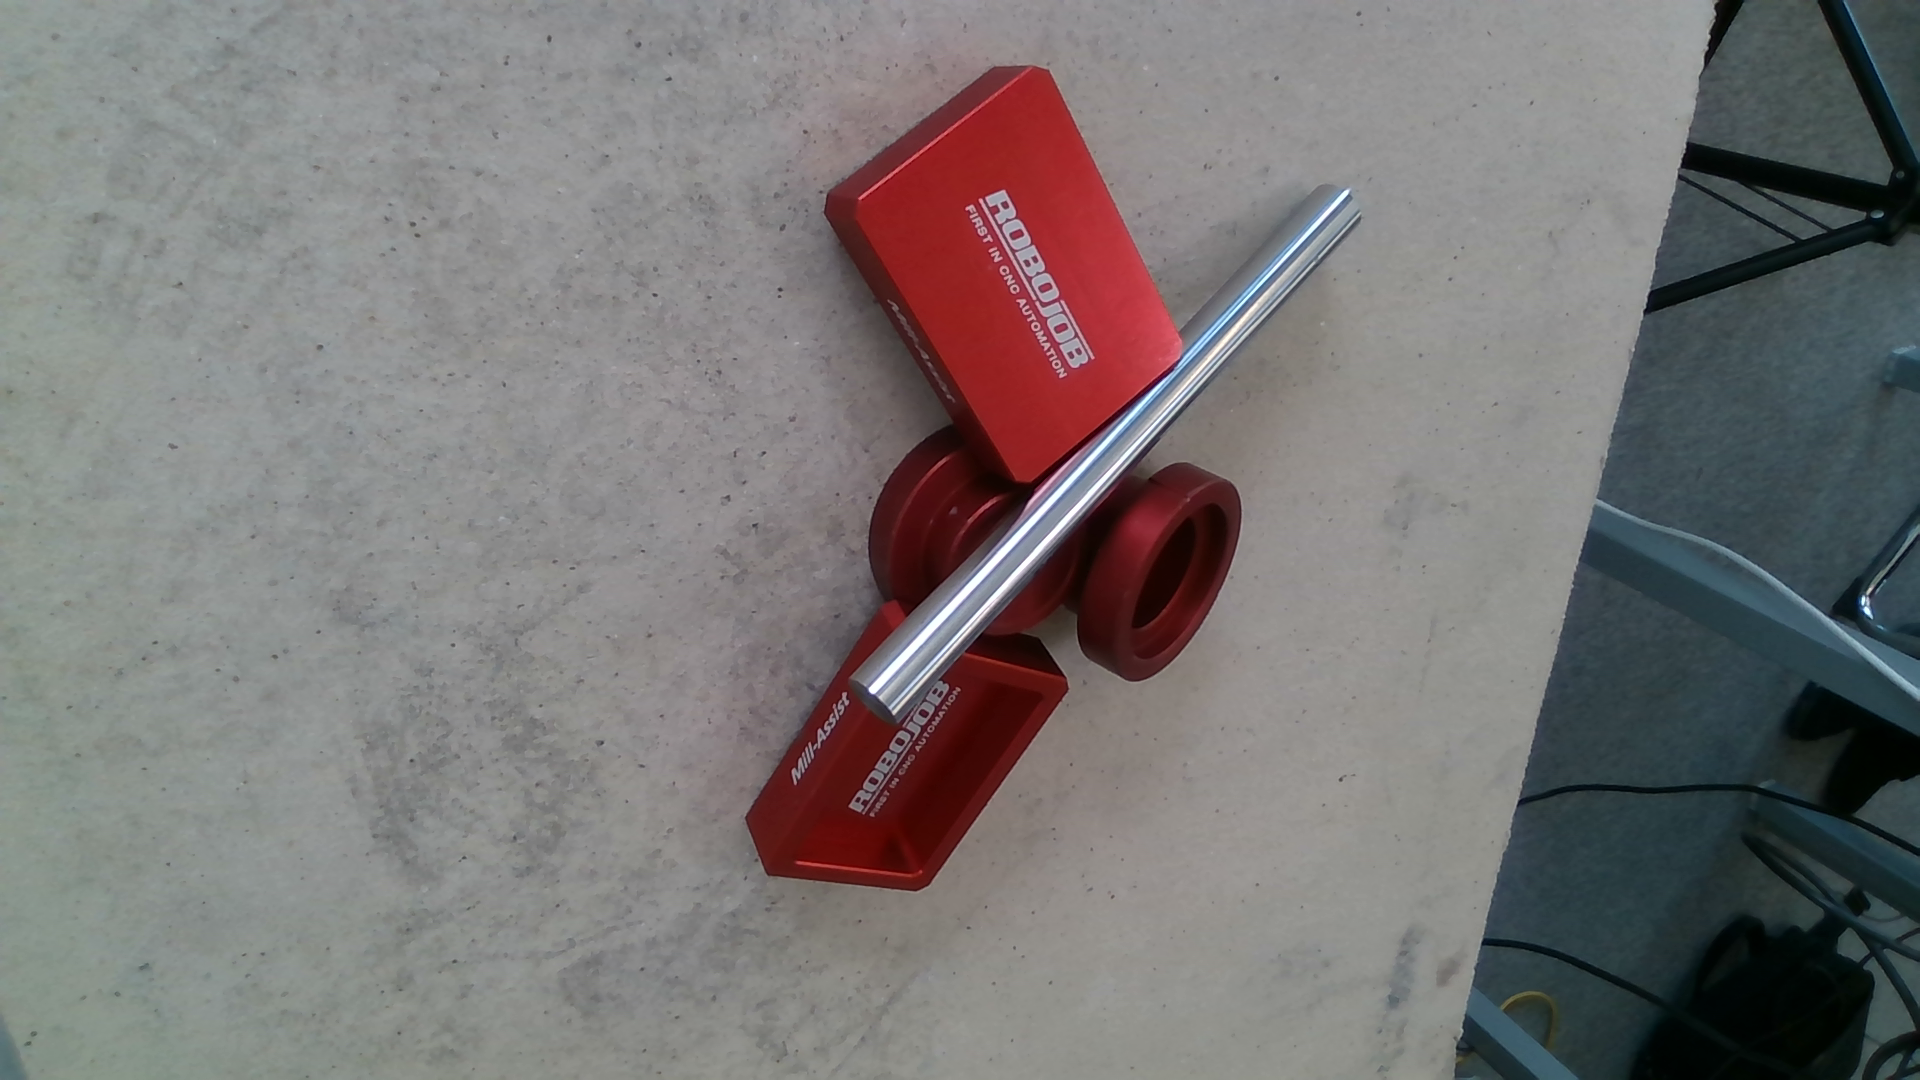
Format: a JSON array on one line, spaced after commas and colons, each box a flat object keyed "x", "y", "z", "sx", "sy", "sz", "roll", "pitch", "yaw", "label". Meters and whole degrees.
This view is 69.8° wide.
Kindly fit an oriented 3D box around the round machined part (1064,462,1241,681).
[{"x": 0.081, "y": 0.010, "z": 0.611, "sx": 0.098, "sy": 0.042, "sz": 0.098, "roll": -36, "pitch": 141, "yaw": -37, "label": "round machined part"}]

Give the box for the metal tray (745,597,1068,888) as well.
[{"x": -0.024, "y": 0.092, "z": 0.599, "sx": 0.090, "sy": 0.030, "sz": 0.130, "roll": 17, "pitch": 115, "yaw": -37, "label": "metal tray"}]

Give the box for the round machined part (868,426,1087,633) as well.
[{"x": 0.014, "y": 0.000, "z": 0.579, "sx": 0.098, "sy": 0.042, "sz": 0.098, "roll": -14, "pitch": 122, "yaw": -25, "label": "round machined part"}]

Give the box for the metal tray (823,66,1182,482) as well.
[{"x": 0.020, "y": -0.099, "z": 0.523, "sx": 0.090, "sy": 0.030, "sz": 0.130, "roll": -40, "pitch": 120, "yaw": -11, "label": "metal tray"}]

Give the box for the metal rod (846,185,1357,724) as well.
[{"x": 0.065, "y": -0.043, "z": 0.555, "sx": 0.300, "sy": 0.025, "sz": 0.025, "roll": -46, "pitch": 130, "yaw": -19, "label": "metal rod"}]
